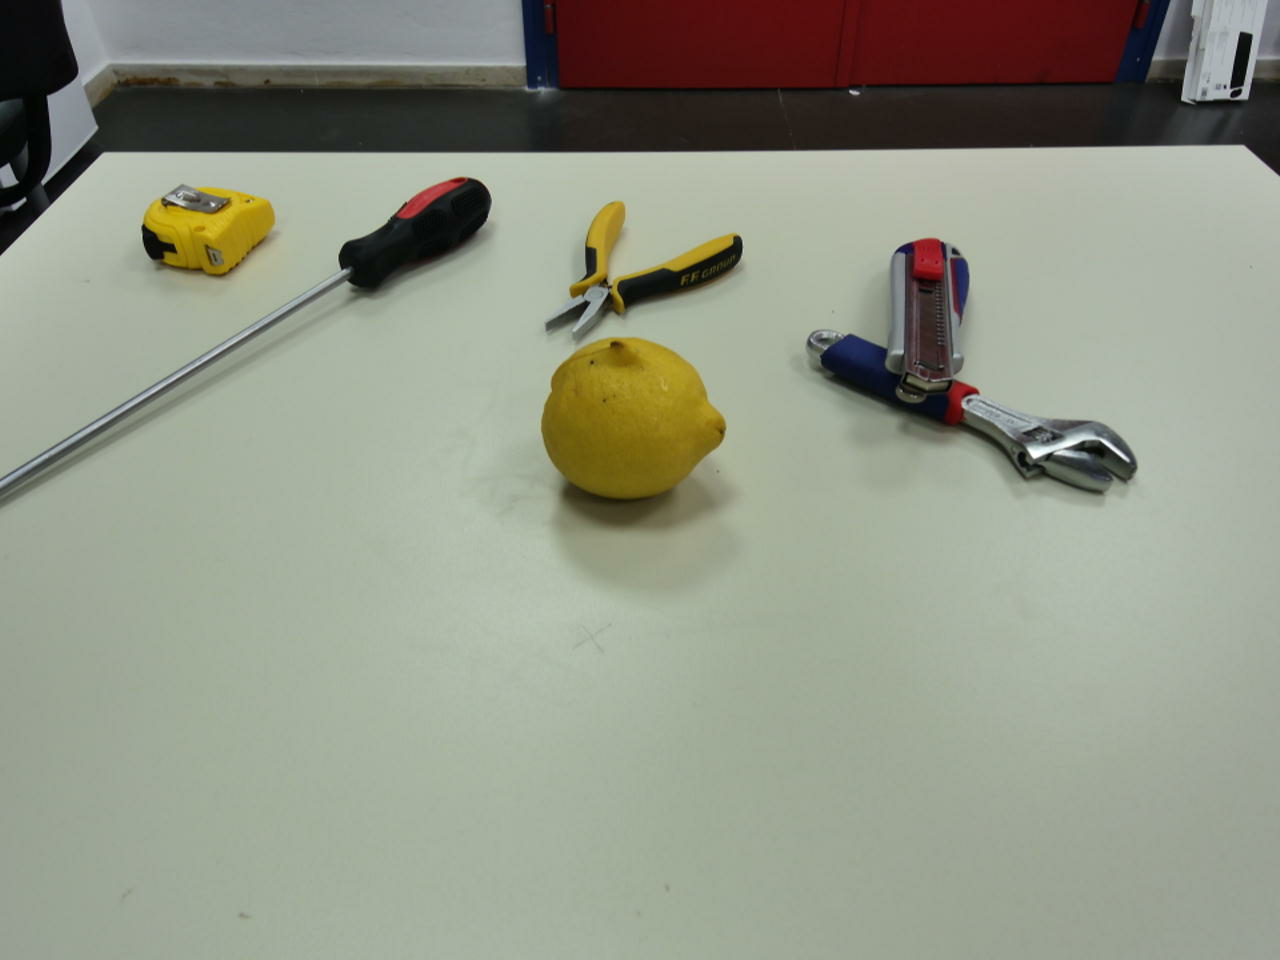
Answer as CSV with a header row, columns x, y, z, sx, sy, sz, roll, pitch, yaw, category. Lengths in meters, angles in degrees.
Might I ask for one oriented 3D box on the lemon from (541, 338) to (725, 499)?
x,y,z,sx,sy,sz,roll,pitch,yaw,category
-0.006,-0.029,0.421,0.070,0.071,0.071,-21,44,-26,lemon
